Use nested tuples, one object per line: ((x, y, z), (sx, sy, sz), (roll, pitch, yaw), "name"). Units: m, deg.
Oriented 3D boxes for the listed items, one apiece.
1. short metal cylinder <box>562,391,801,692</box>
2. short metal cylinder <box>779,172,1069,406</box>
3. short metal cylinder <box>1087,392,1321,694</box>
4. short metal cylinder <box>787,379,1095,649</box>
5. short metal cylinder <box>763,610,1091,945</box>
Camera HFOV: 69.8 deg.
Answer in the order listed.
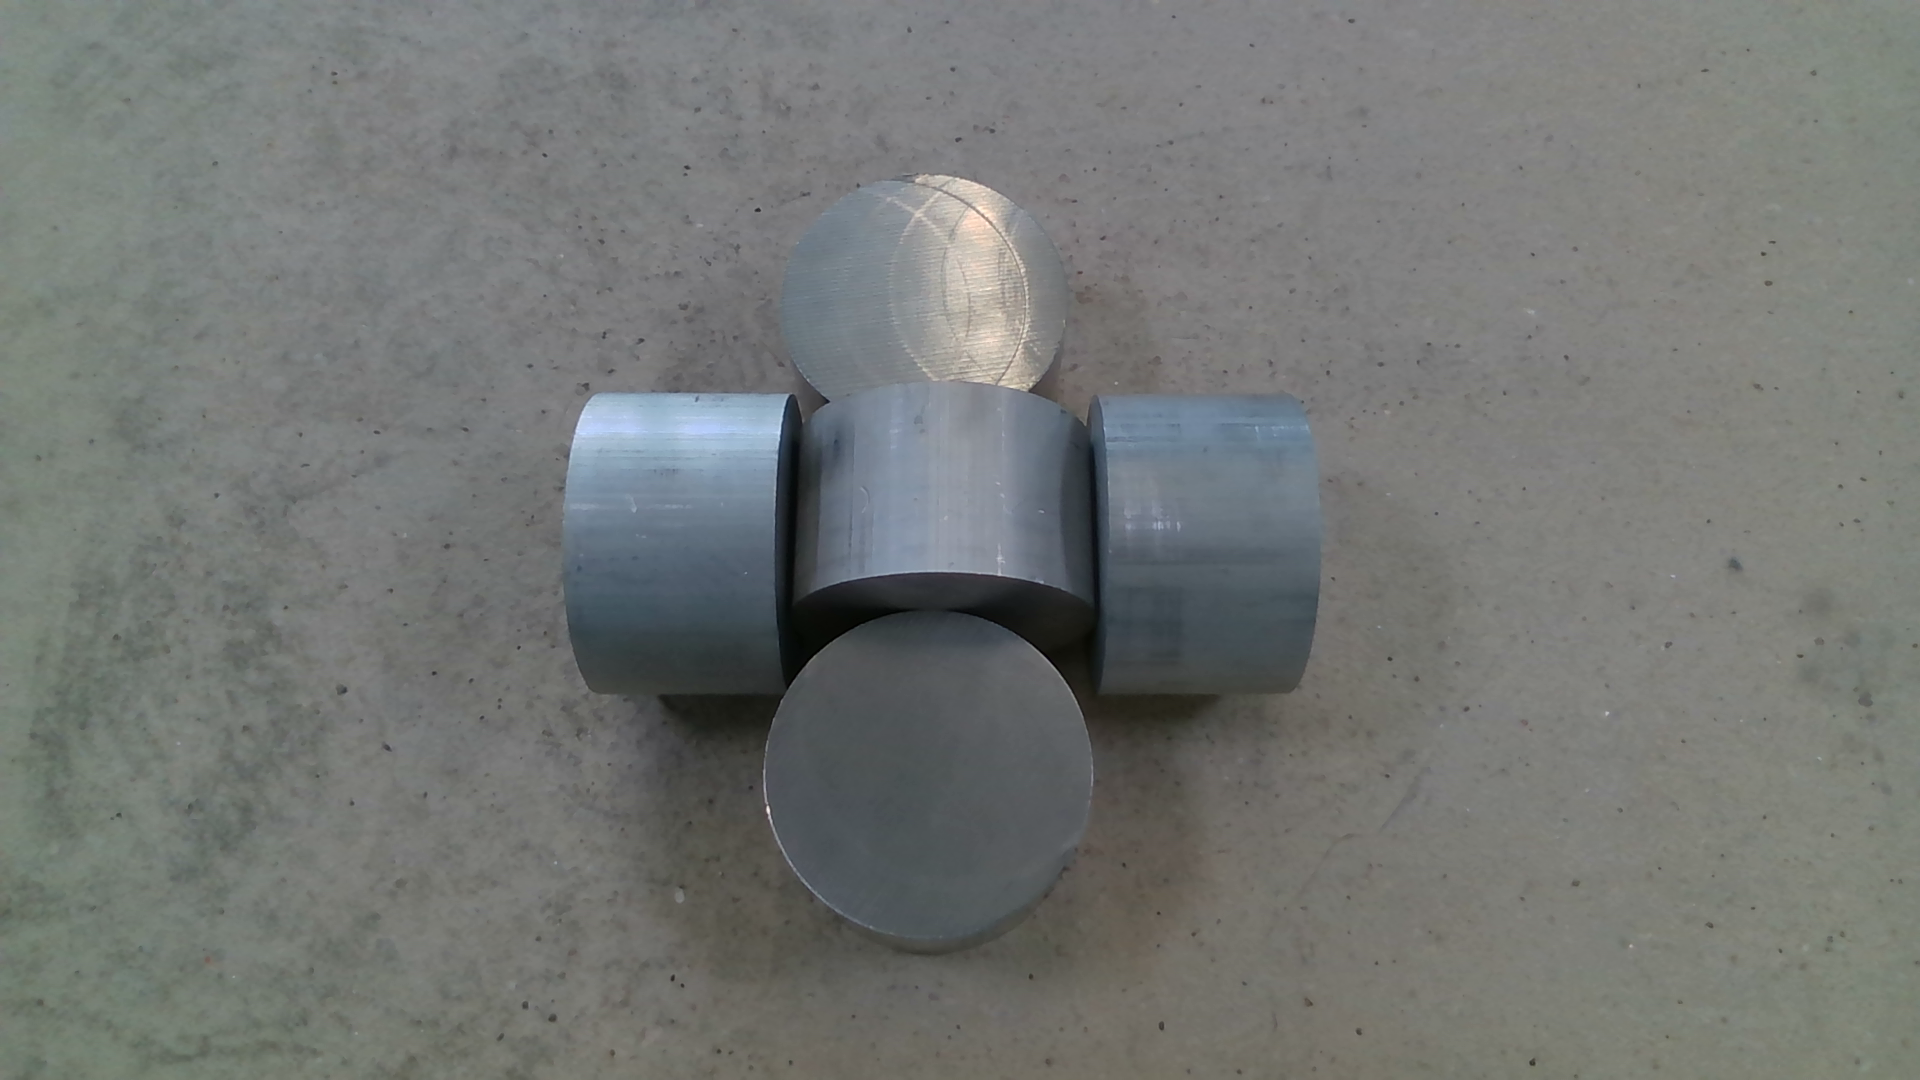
((-0.070, 0.001, 0.367), (0.050, 0.080, 0.080), (0, 70, 0), "short metal cylinder")
((-0.010, -0.059, 0.404), (0.080, 0.050, 0.080), (0, 71, 0), "short metal cylinder")
((0.061, 0.001, 0.367), (0.050, 0.080, 0.080), (0, 70, 0), "short metal cylinder")
((-0.005, -0.002, 0.368), (0.080, 0.080, 0.050), (0, 70, 0), "short metal cylinder")
((-0.008, 0.064, 0.359), (0.080, 0.050, 0.080), (0, 70, 0), "short metal cylinder")
